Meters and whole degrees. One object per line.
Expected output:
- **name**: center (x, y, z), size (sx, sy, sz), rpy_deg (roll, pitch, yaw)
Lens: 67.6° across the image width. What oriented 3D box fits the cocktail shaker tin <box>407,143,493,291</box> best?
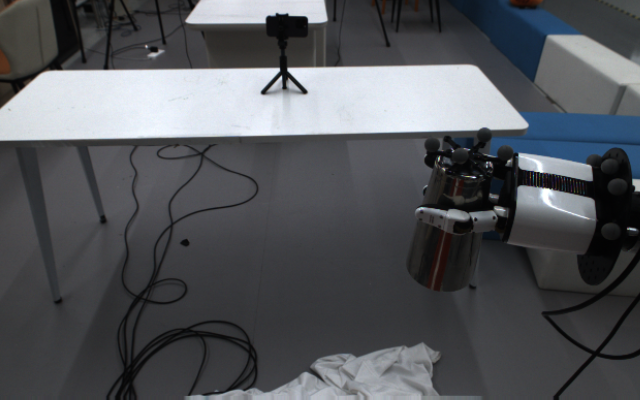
- **cocktail shaker tin**: center (0.169, 0.020, 0.610), size (0.093, 0.170, 0.093), rpy_deg (1, 39, -1)
